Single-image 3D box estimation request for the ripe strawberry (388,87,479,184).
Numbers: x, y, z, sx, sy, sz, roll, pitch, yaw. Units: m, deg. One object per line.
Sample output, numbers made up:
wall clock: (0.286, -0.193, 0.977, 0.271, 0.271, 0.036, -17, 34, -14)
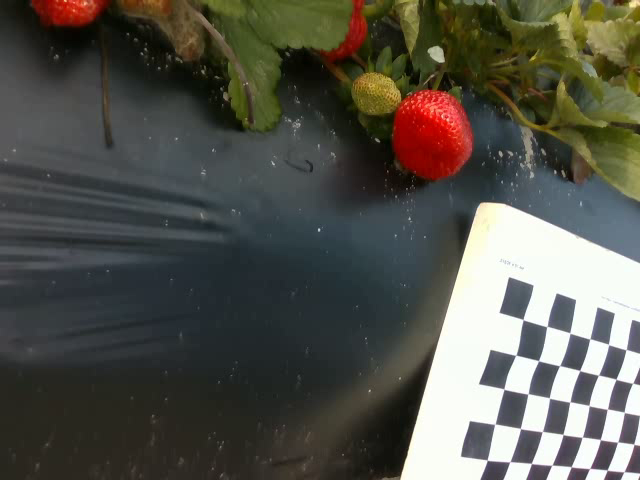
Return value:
ripe strawberry: (0.030, -0.025, 0.136, 0.022, 0.025, 0.030, 1, 14, -4)
